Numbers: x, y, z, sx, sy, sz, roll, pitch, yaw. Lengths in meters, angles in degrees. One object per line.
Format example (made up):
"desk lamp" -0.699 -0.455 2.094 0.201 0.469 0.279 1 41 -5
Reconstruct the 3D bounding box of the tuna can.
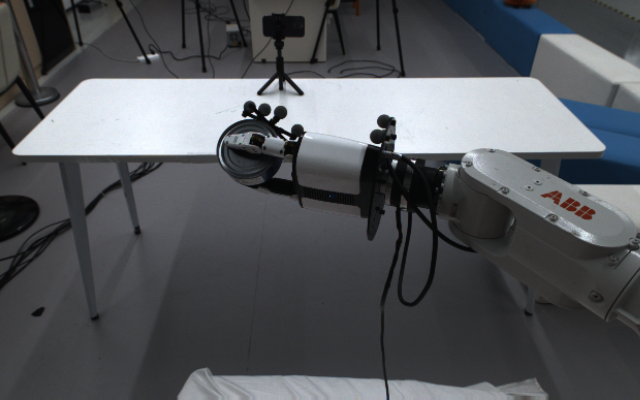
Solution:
"tuna can" -0.094 -0.064 0.659 0.085 0.034 0.085 -2 71 6
